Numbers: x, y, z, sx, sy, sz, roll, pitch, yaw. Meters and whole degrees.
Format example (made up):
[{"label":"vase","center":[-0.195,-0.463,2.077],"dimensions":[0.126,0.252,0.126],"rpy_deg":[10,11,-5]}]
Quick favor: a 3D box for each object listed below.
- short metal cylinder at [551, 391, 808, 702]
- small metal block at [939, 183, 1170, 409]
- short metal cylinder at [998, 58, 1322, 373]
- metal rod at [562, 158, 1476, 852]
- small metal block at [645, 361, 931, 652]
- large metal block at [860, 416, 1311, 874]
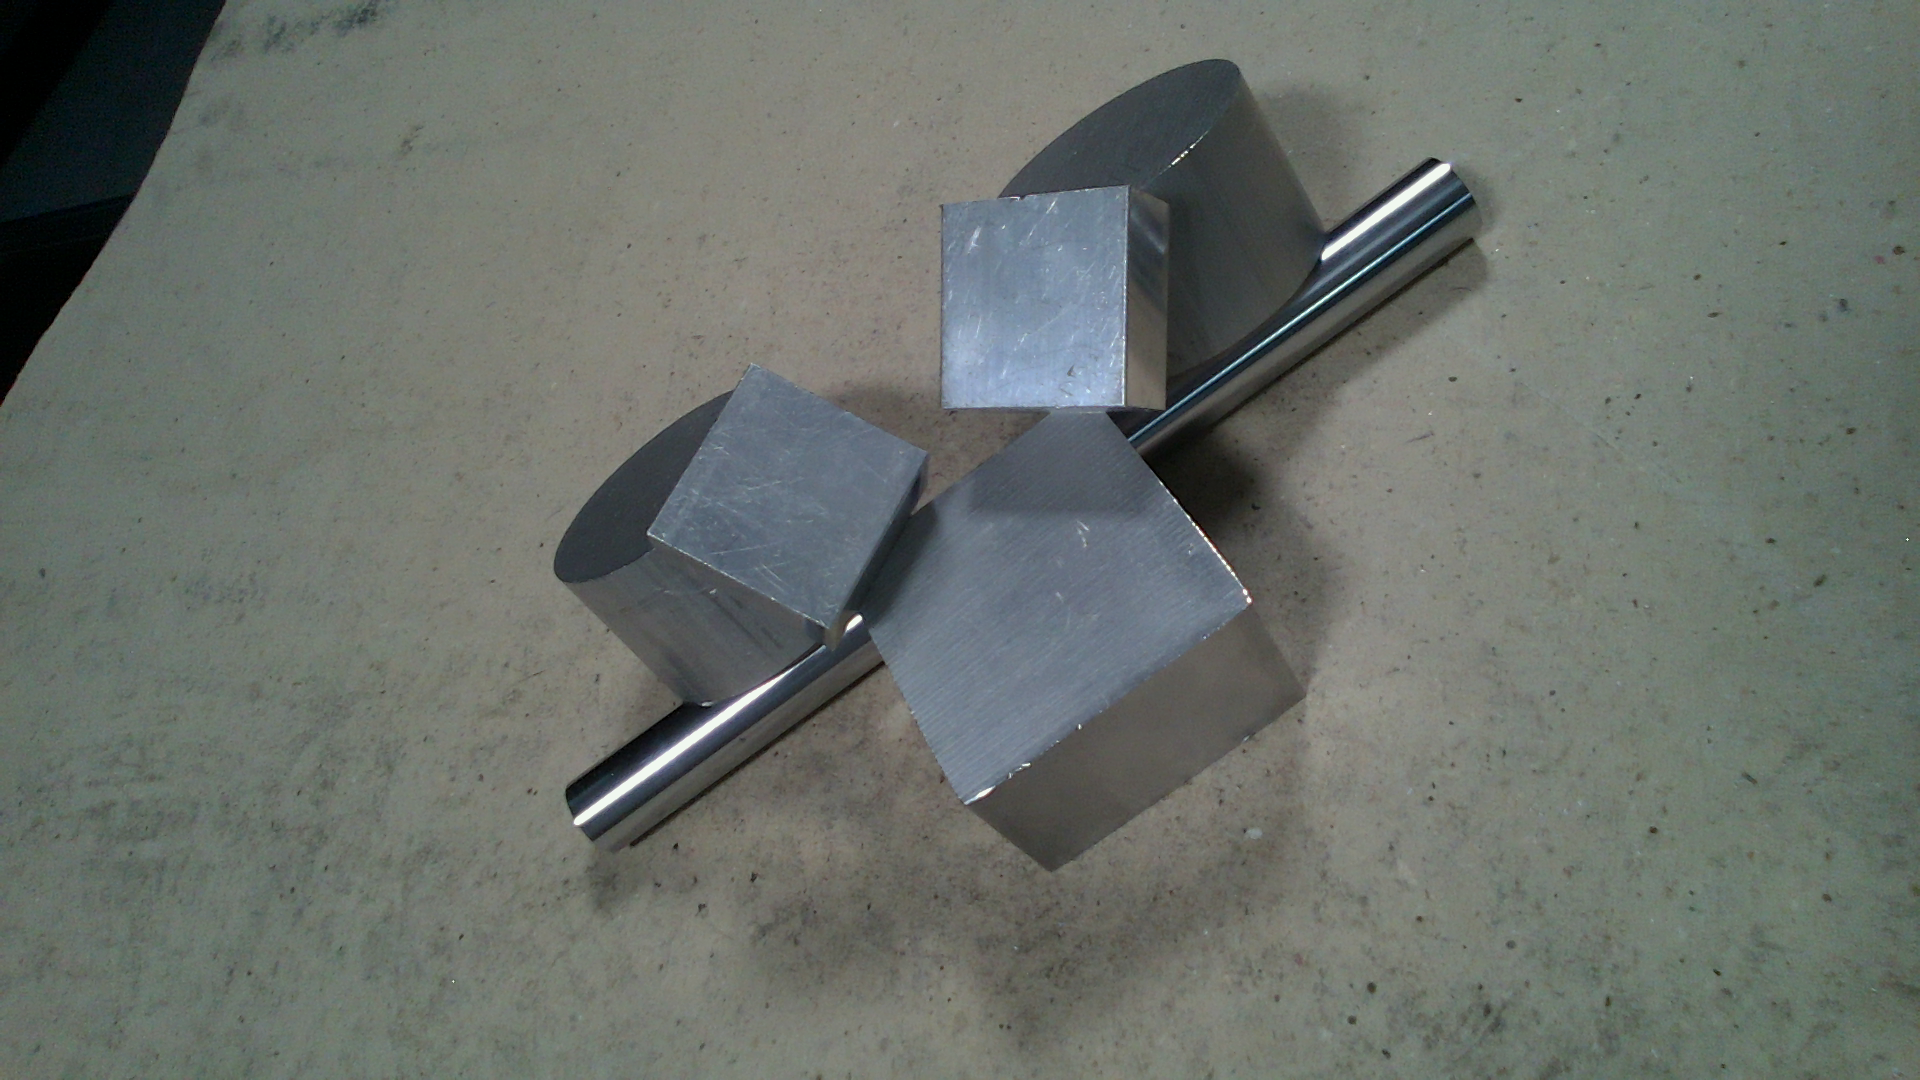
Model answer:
[{"label":"short metal cylinder","center":[-0.069,0.000,0.397],"dimensions":[0.080,0.050,0.080],"rpy_deg":[-29,28,18]},{"label":"small metal block","center":[0.023,-0.057,0.336],"dimensions":[0.050,0.025,0.050],"rpy_deg":[2,93,30]},{"label":"short metal cylinder","center":[0.053,-0.089,0.385],"dimensions":[0.080,0.050,0.080],"rpy_deg":[-29,28,18]},{"label":"metal rod","center":[0.013,-0.007,0.391],"dimensions":[0.300,0.025,0.025],"rpy_deg":[-36,51,4]},{"label":"small metal block","center":[-0.041,-0.008,0.341],"dimensions":[0.050,0.025,0.050],"rpy_deg":[27,74,4]},{"label":"large metal block","center":[0.027,0.022,0.347],"dimensions":[0.080,0.050,0.080],"rpy_deg":[-36,51,5]}]
